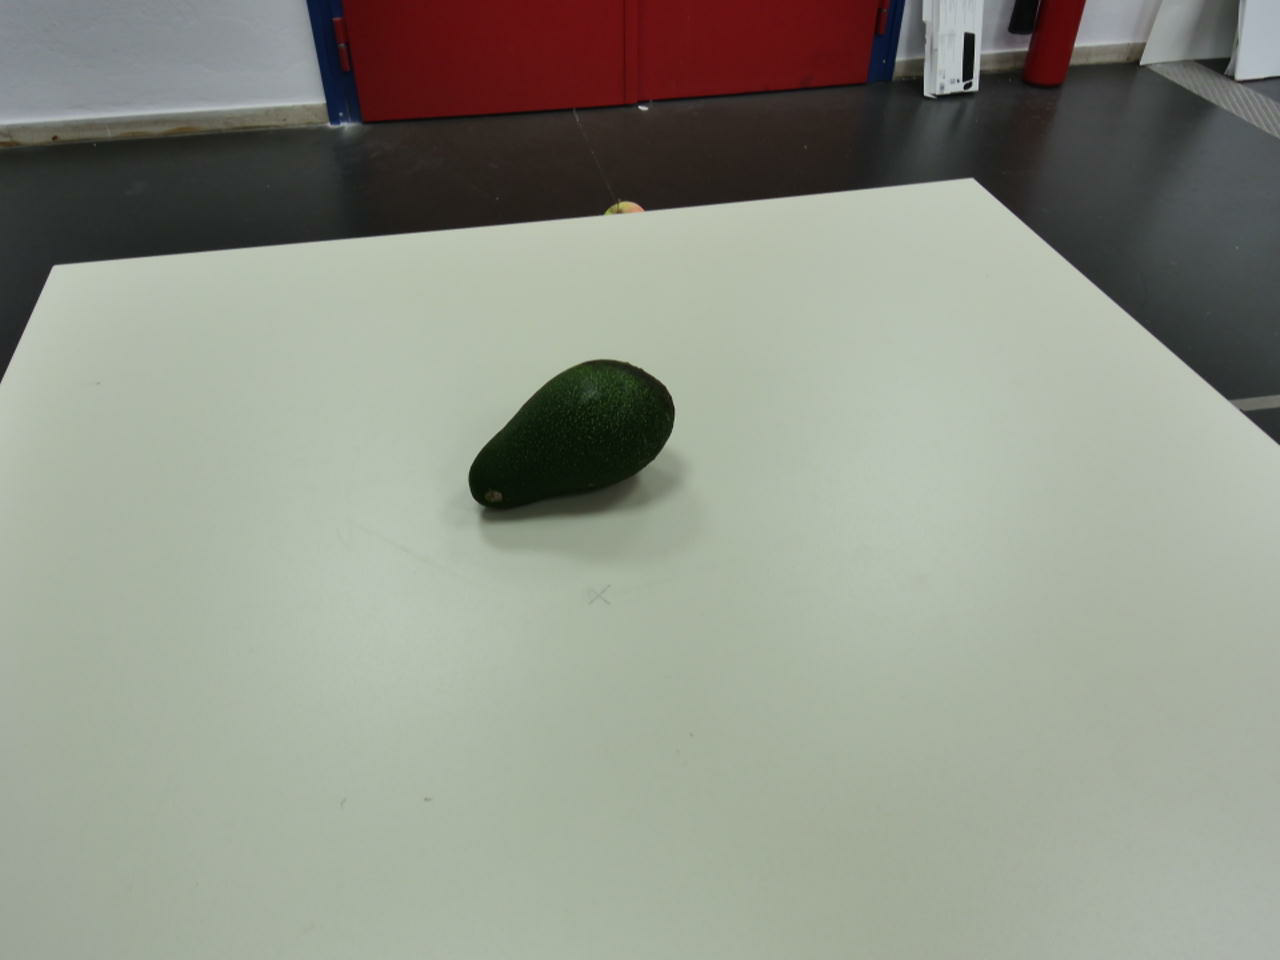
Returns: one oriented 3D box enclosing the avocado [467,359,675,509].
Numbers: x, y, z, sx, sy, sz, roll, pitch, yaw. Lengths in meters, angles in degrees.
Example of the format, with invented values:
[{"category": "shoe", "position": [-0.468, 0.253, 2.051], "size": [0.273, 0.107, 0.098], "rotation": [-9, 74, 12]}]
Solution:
[{"category": "avocado", "position": [-0.040, -0.032, 0.586], "size": [0.123, 0.076, 0.074], "rotation": [-3, 39, -5]}]
